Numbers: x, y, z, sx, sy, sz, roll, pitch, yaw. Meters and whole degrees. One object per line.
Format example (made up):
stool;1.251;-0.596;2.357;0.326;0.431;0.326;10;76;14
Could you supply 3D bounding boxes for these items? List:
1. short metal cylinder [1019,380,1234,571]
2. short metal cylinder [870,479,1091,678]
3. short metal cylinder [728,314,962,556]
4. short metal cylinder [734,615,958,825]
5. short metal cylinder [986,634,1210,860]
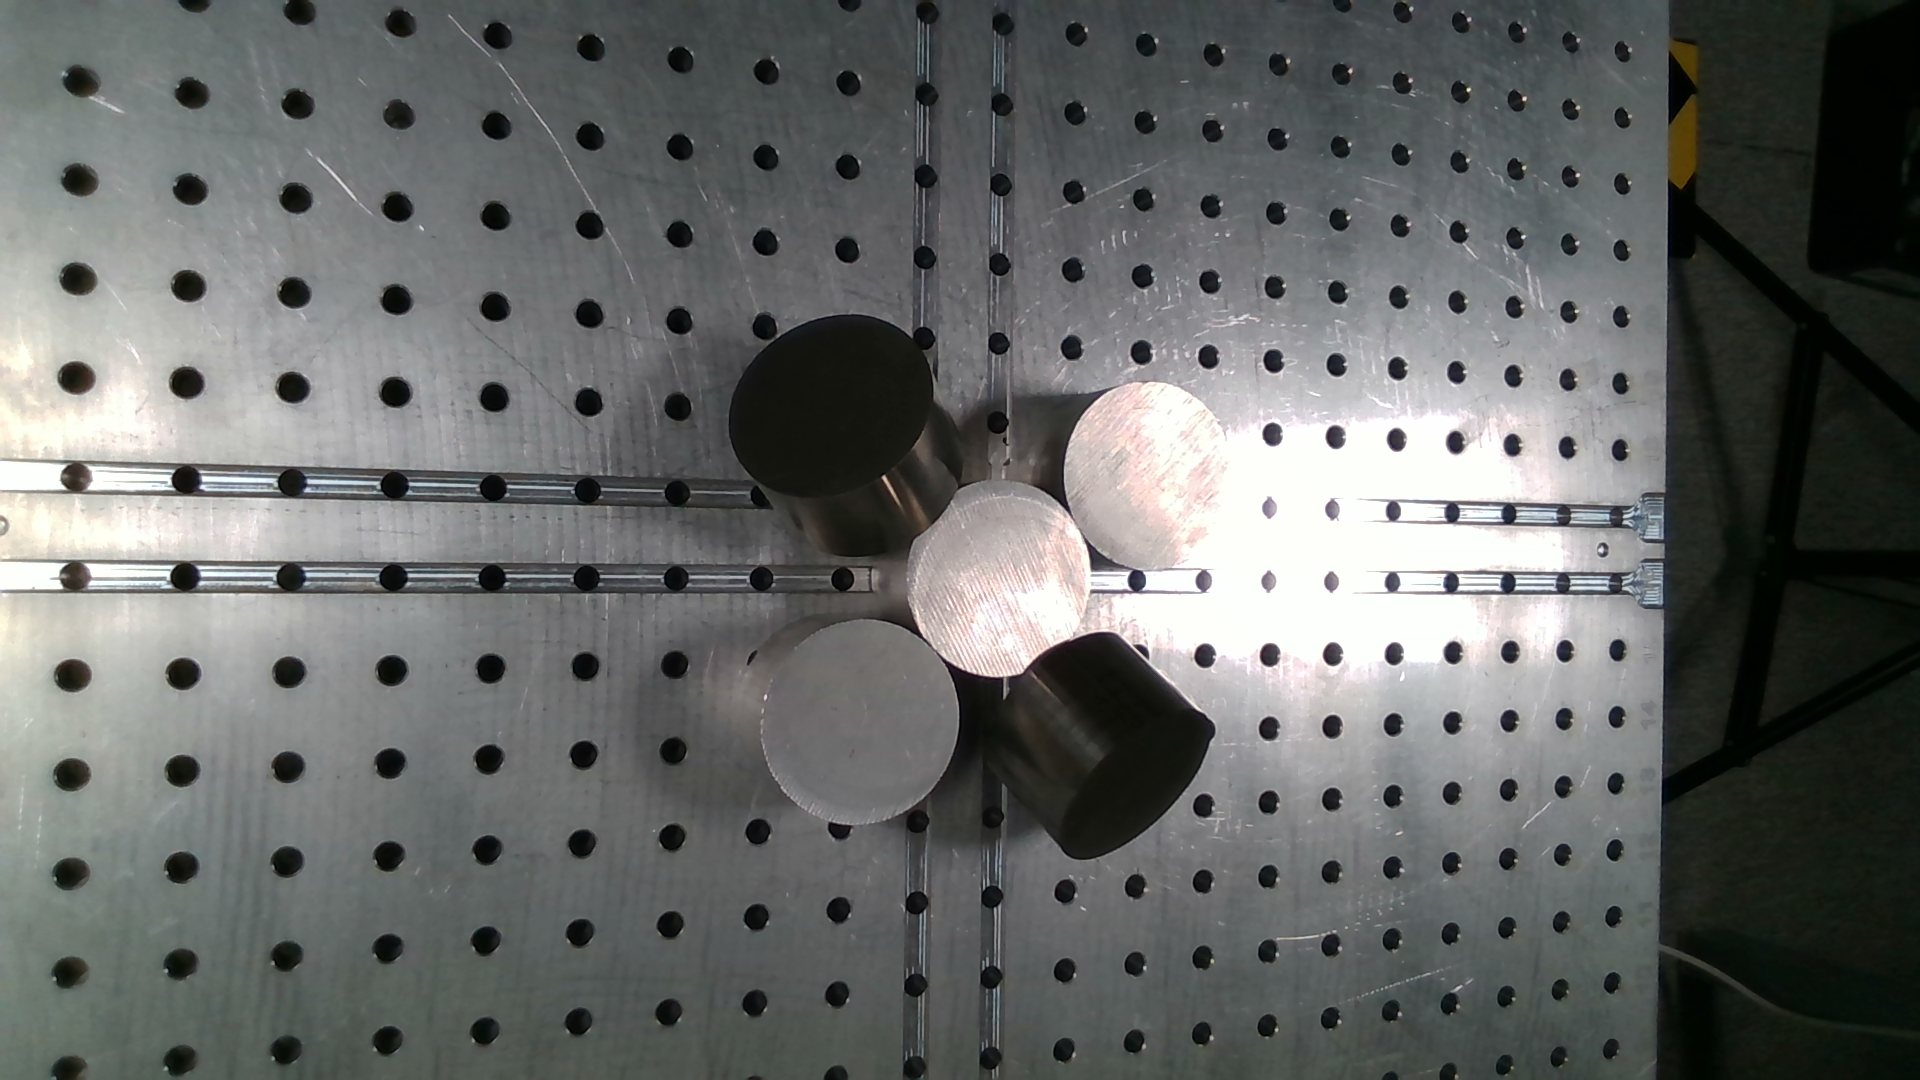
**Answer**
short metal cylinder;0.072;-0.027;0.601;0.080;0.050;0.080;0;90;-20
short metal cylinder;0.008;0.016;0.578;0.080;0.050;0.080;0;90;-20
short metal cylinder;-0.043;-0.040;0.537;0.080;0.050;0.080;-6;63;11
short metal cylinder;-0.047;0.071;0.558;0.080;0.050;0.080;0;90;-20
short metal cylinder;0.057;0.086;0.575;0.080;0.050;0.080;-26;140;-25
